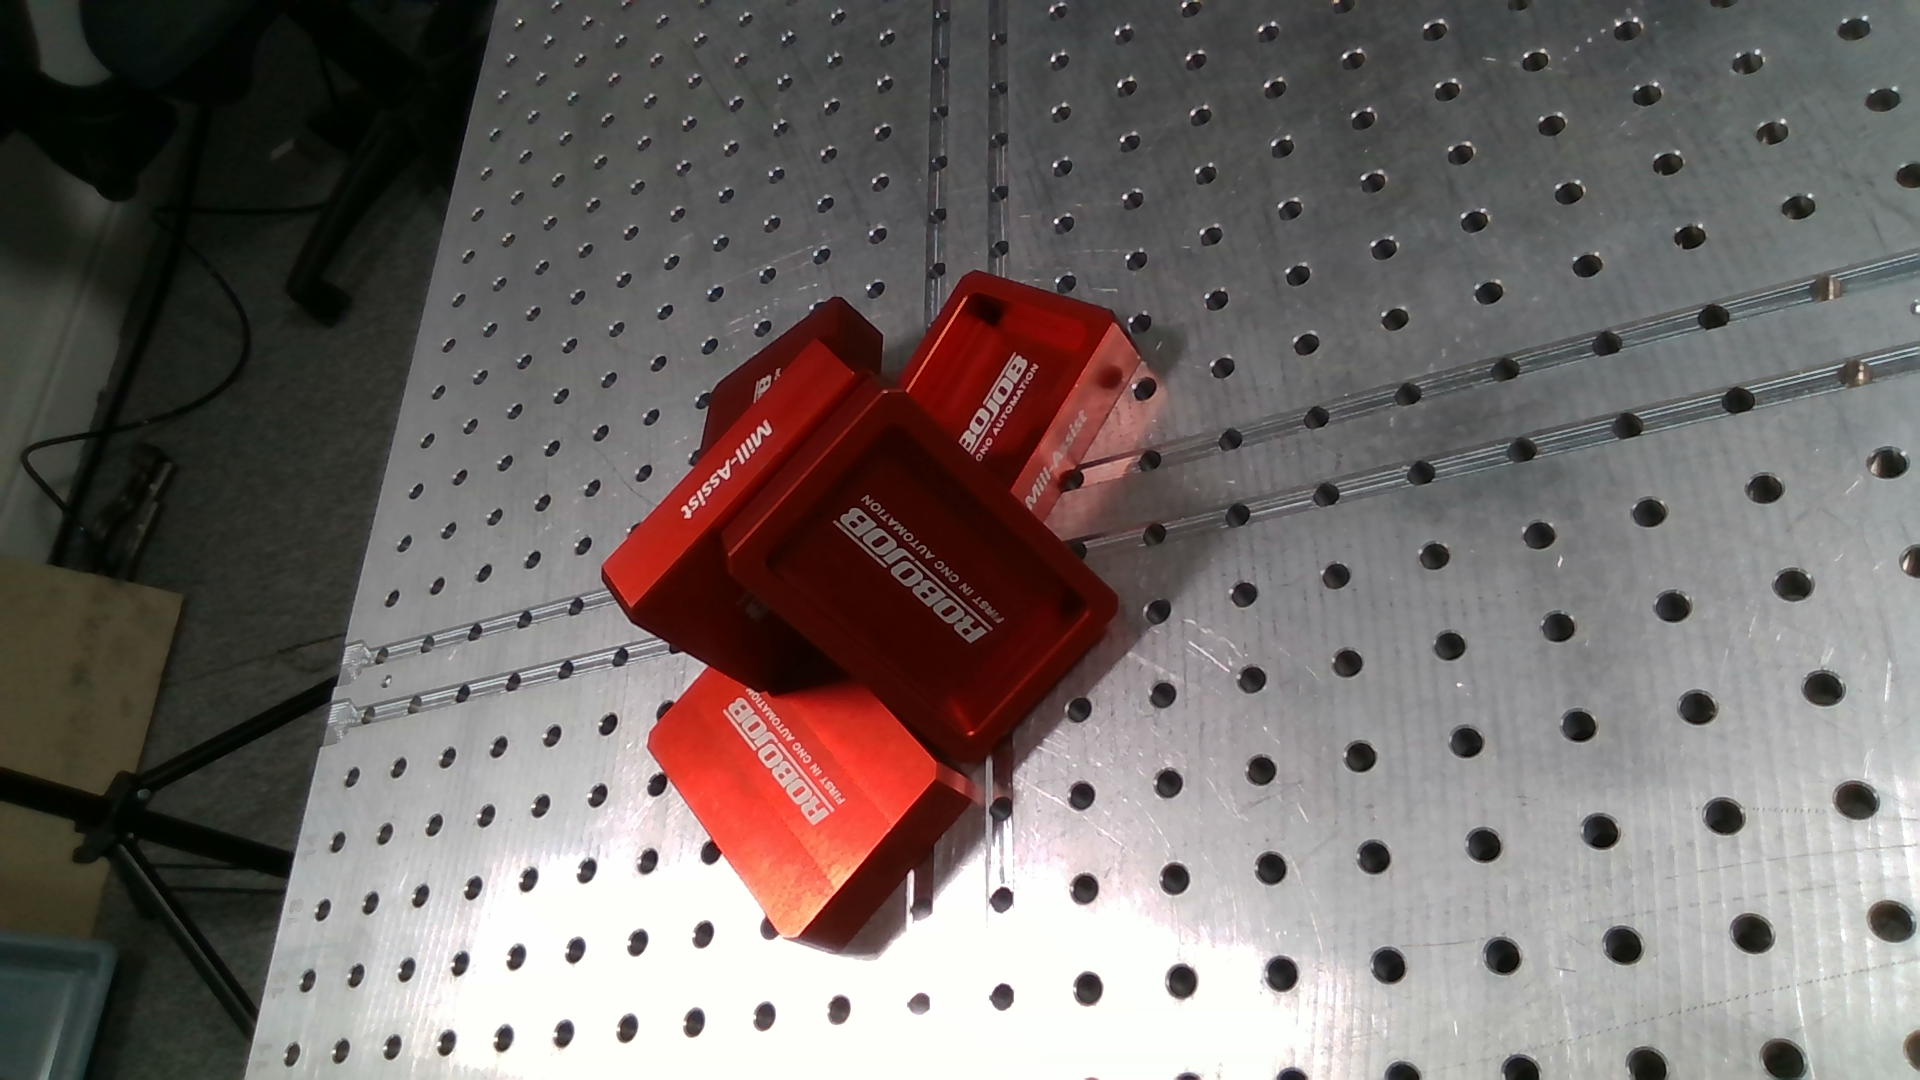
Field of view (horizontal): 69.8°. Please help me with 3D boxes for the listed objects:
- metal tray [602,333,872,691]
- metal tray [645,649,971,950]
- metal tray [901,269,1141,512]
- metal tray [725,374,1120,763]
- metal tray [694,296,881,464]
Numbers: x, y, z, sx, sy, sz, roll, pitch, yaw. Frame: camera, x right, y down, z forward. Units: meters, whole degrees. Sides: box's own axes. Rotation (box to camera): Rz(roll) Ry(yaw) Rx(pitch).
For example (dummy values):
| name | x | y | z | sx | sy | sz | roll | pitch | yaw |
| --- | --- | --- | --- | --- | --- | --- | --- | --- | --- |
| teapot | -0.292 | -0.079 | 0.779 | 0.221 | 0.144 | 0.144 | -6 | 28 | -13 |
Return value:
| name | x | y | z | sx | sy | sz | roll | pitch | yaw |
| --- | --- | --- | --- | --- | --- | --- | --- | --- | --- |
| metal tray | -0.067 | -0.008 | 0.552 | 0.130 | 0.090 | 0.030 | -46 | 51 | 2 |
| metal tray | -0.067 | 0.093 | 0.575 | 0.090 | 0.030 | 0.130 | -49 | 51 | 0 |
| metal tray | 0.009 | -0.050 | 0.606 | 0.090 | 0.030 | 0.130 | 25 | 80 | 38 |
| metal tray | -0.014 | 0.013 | 0.523 | 0.090 | 0.130 | 0.030 | -47 | 23 | 2 |
| metal tray | -0.081 | -0.043 | 0.627 | 0.090 | 0.030 | 0.130 | -31 | 38 | 28 |
